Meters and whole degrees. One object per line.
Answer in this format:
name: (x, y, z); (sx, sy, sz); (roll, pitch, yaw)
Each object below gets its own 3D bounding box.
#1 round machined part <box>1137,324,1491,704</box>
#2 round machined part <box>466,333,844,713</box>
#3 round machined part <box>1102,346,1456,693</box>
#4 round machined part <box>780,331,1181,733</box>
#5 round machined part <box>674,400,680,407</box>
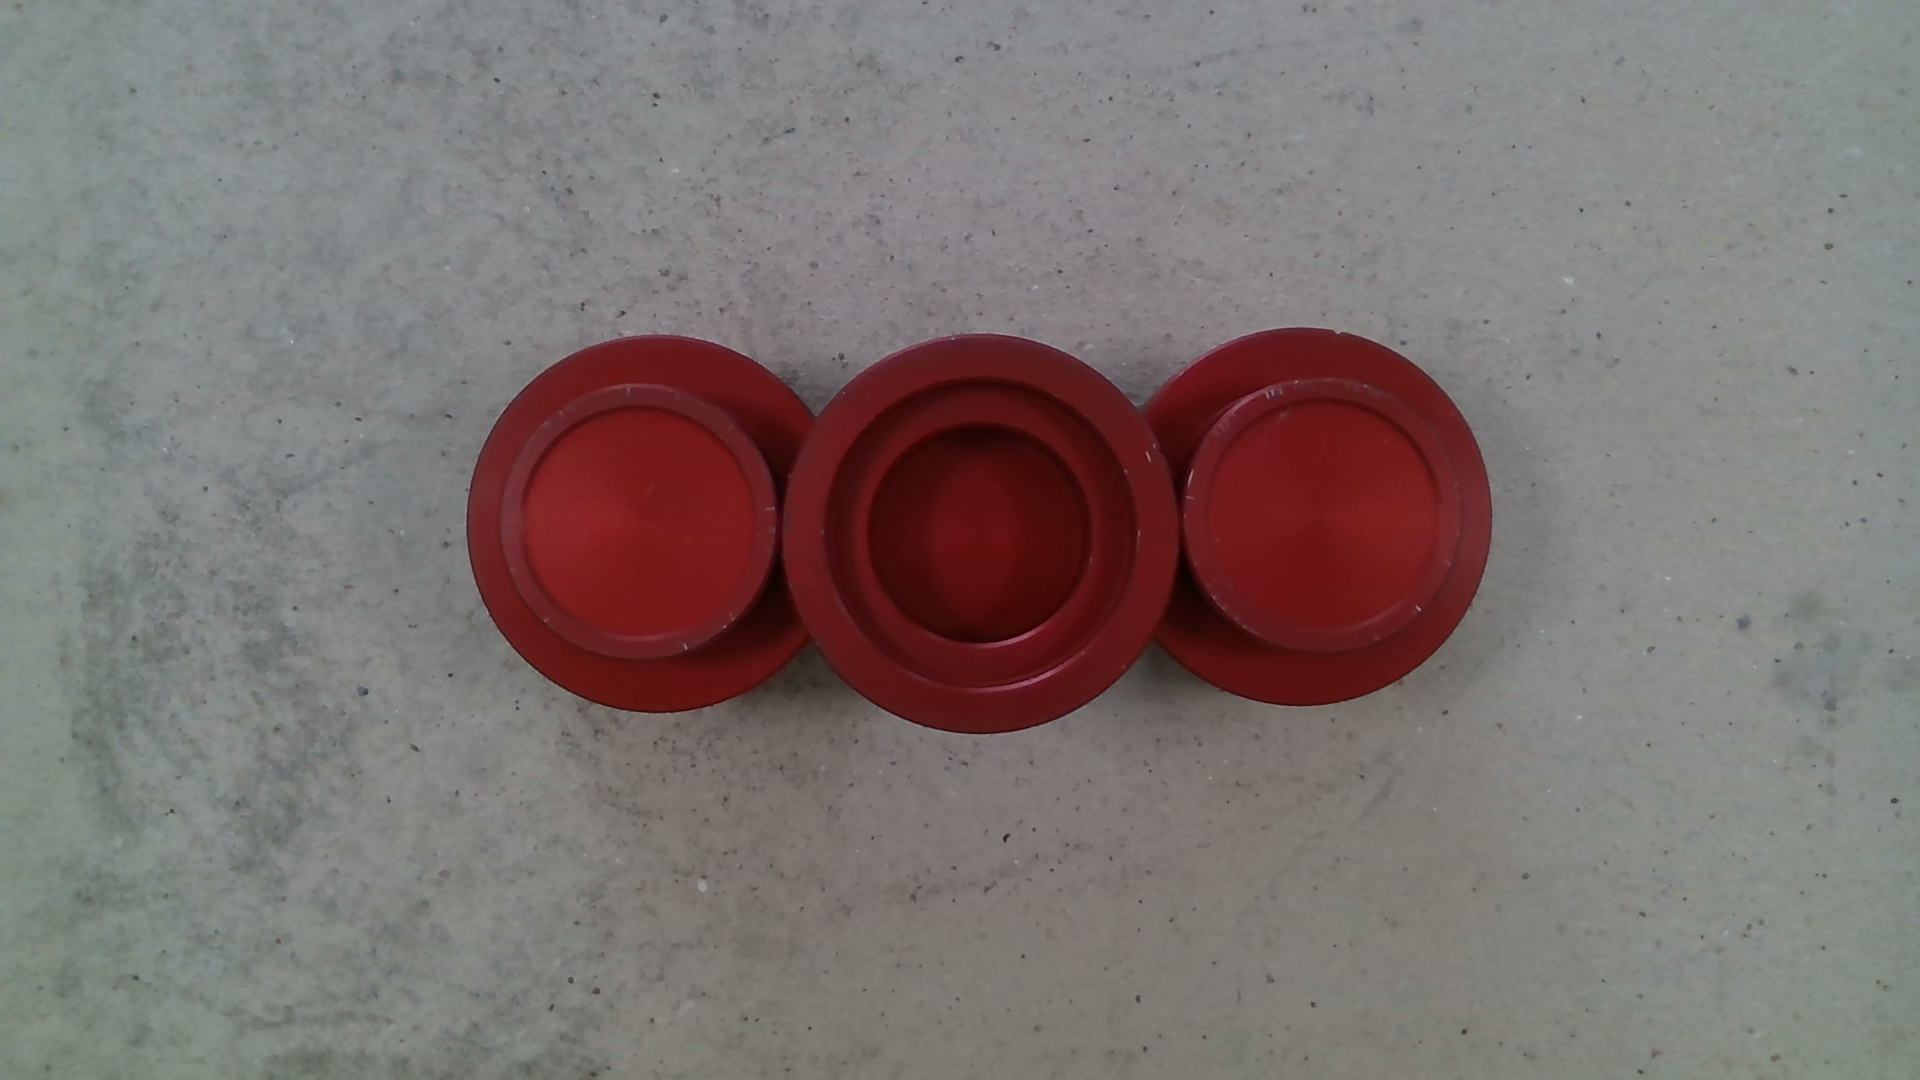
round machined part: (0.088, -0.007, 0.354); (0.098, 0.042, 0.098); (0, 89, 0)
round machined part: (-0.078, -0.004, 0.353); (0.098, 0.042, 0.098); (0, 89, 0)
round machined part: (0.091, -0.006, 0.387); (0.098, 0.042, 0.098); (0, 88, 0)
round machined part: (0.005, -0.002, 0.355); (0.098, 0.042, 0.098); (0, 90, 0)
round machined part: (-0.080, -0.005, 0.388); (0.098, 0.042, 0.098); (0, 89, -1)
